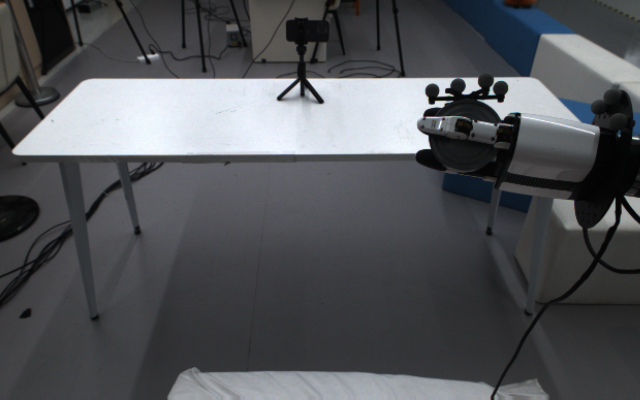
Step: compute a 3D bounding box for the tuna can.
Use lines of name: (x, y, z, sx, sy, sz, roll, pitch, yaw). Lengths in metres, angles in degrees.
tuna can: (0.177, -0.079, 0.589, 0.085, 0.085, 0.034, 13, -1, 16)
